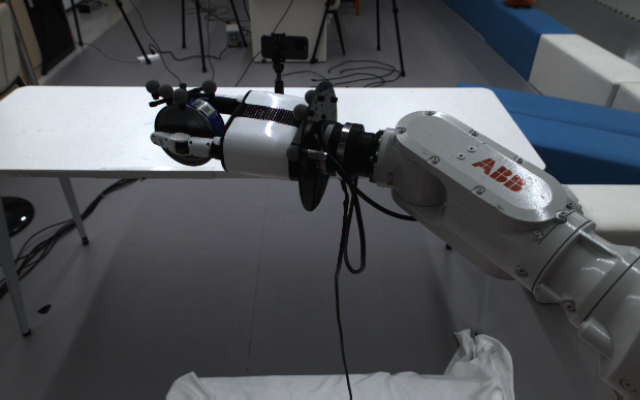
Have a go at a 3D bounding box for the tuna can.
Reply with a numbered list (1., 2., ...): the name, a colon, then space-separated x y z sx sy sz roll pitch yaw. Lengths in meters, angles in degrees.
1. tuna can: -0.165 -0.089 0.624 0.085 0.085 0.034 11 33 13
